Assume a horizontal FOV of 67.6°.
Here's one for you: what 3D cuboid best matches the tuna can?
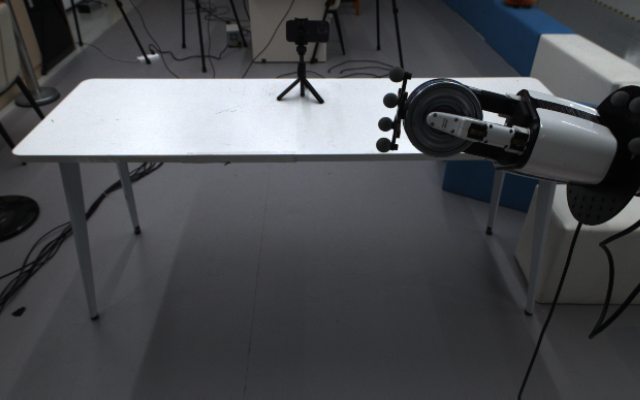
[{"bbox_3d":[0.138,-0.096,0.547,0.085,0.085,0.034,4,17,3],"label":"tuna can"}]
